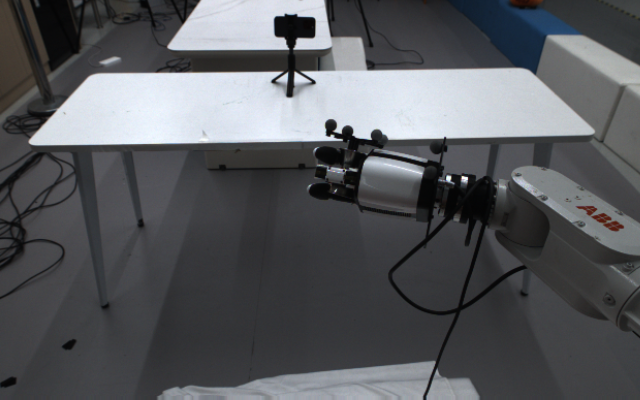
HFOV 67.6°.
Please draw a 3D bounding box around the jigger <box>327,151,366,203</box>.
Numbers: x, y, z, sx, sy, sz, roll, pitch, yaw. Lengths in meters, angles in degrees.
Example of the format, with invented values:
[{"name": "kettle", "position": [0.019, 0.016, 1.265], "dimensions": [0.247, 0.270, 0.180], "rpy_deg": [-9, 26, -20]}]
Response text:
[{"name": "jigger", "position": [0.042, -0.040, 0.714], "dimensions": [0.043, 0.071, 0.043], "rpy_deg": [14, 1, 0]}]
